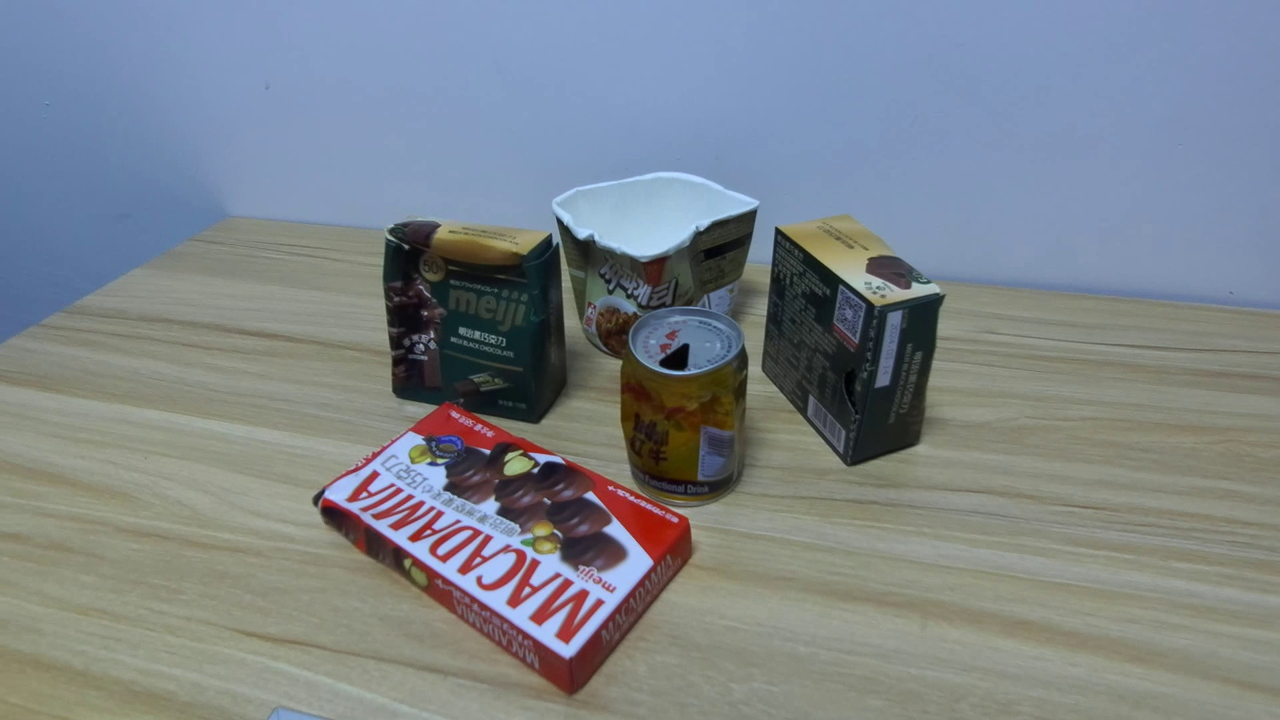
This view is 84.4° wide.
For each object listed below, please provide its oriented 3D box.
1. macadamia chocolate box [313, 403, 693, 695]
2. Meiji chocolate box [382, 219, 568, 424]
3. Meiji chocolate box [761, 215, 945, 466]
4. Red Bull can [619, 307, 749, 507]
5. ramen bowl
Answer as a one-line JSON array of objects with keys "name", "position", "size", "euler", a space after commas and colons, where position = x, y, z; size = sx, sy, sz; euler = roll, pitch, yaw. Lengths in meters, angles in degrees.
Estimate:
[{"name": "macadamia chocolate box", "position": [-0.073, 0.082, 0.368], "size": [0.182, 0.028, 0.106], "euler": [21, 41, 30]}, {"name": "Meiji chocolate box", "position": [-0.105, -0.028, 0.454], "size": [0.117, 0.117, 0.052], "euler": [9, 28, 15]}, {"name": "Meiji chocolate box", "position": [0.126, -0.015, 0.422], "size": [0.058, 0.111, 0.113], "euler": [-13, 36, -15]}, {"name": "Red Bull can", "position": [0.025, 0.024, 0.384], "size": [0.072, 0.092, 0.072], "euler": [-1, 37, 1]}, {"name": "ramen bowl", "position": [0.003, -0.072, 0.517], "size": [0.133, 0.098, 0.114], "euler": [24, 44, 30]}]
